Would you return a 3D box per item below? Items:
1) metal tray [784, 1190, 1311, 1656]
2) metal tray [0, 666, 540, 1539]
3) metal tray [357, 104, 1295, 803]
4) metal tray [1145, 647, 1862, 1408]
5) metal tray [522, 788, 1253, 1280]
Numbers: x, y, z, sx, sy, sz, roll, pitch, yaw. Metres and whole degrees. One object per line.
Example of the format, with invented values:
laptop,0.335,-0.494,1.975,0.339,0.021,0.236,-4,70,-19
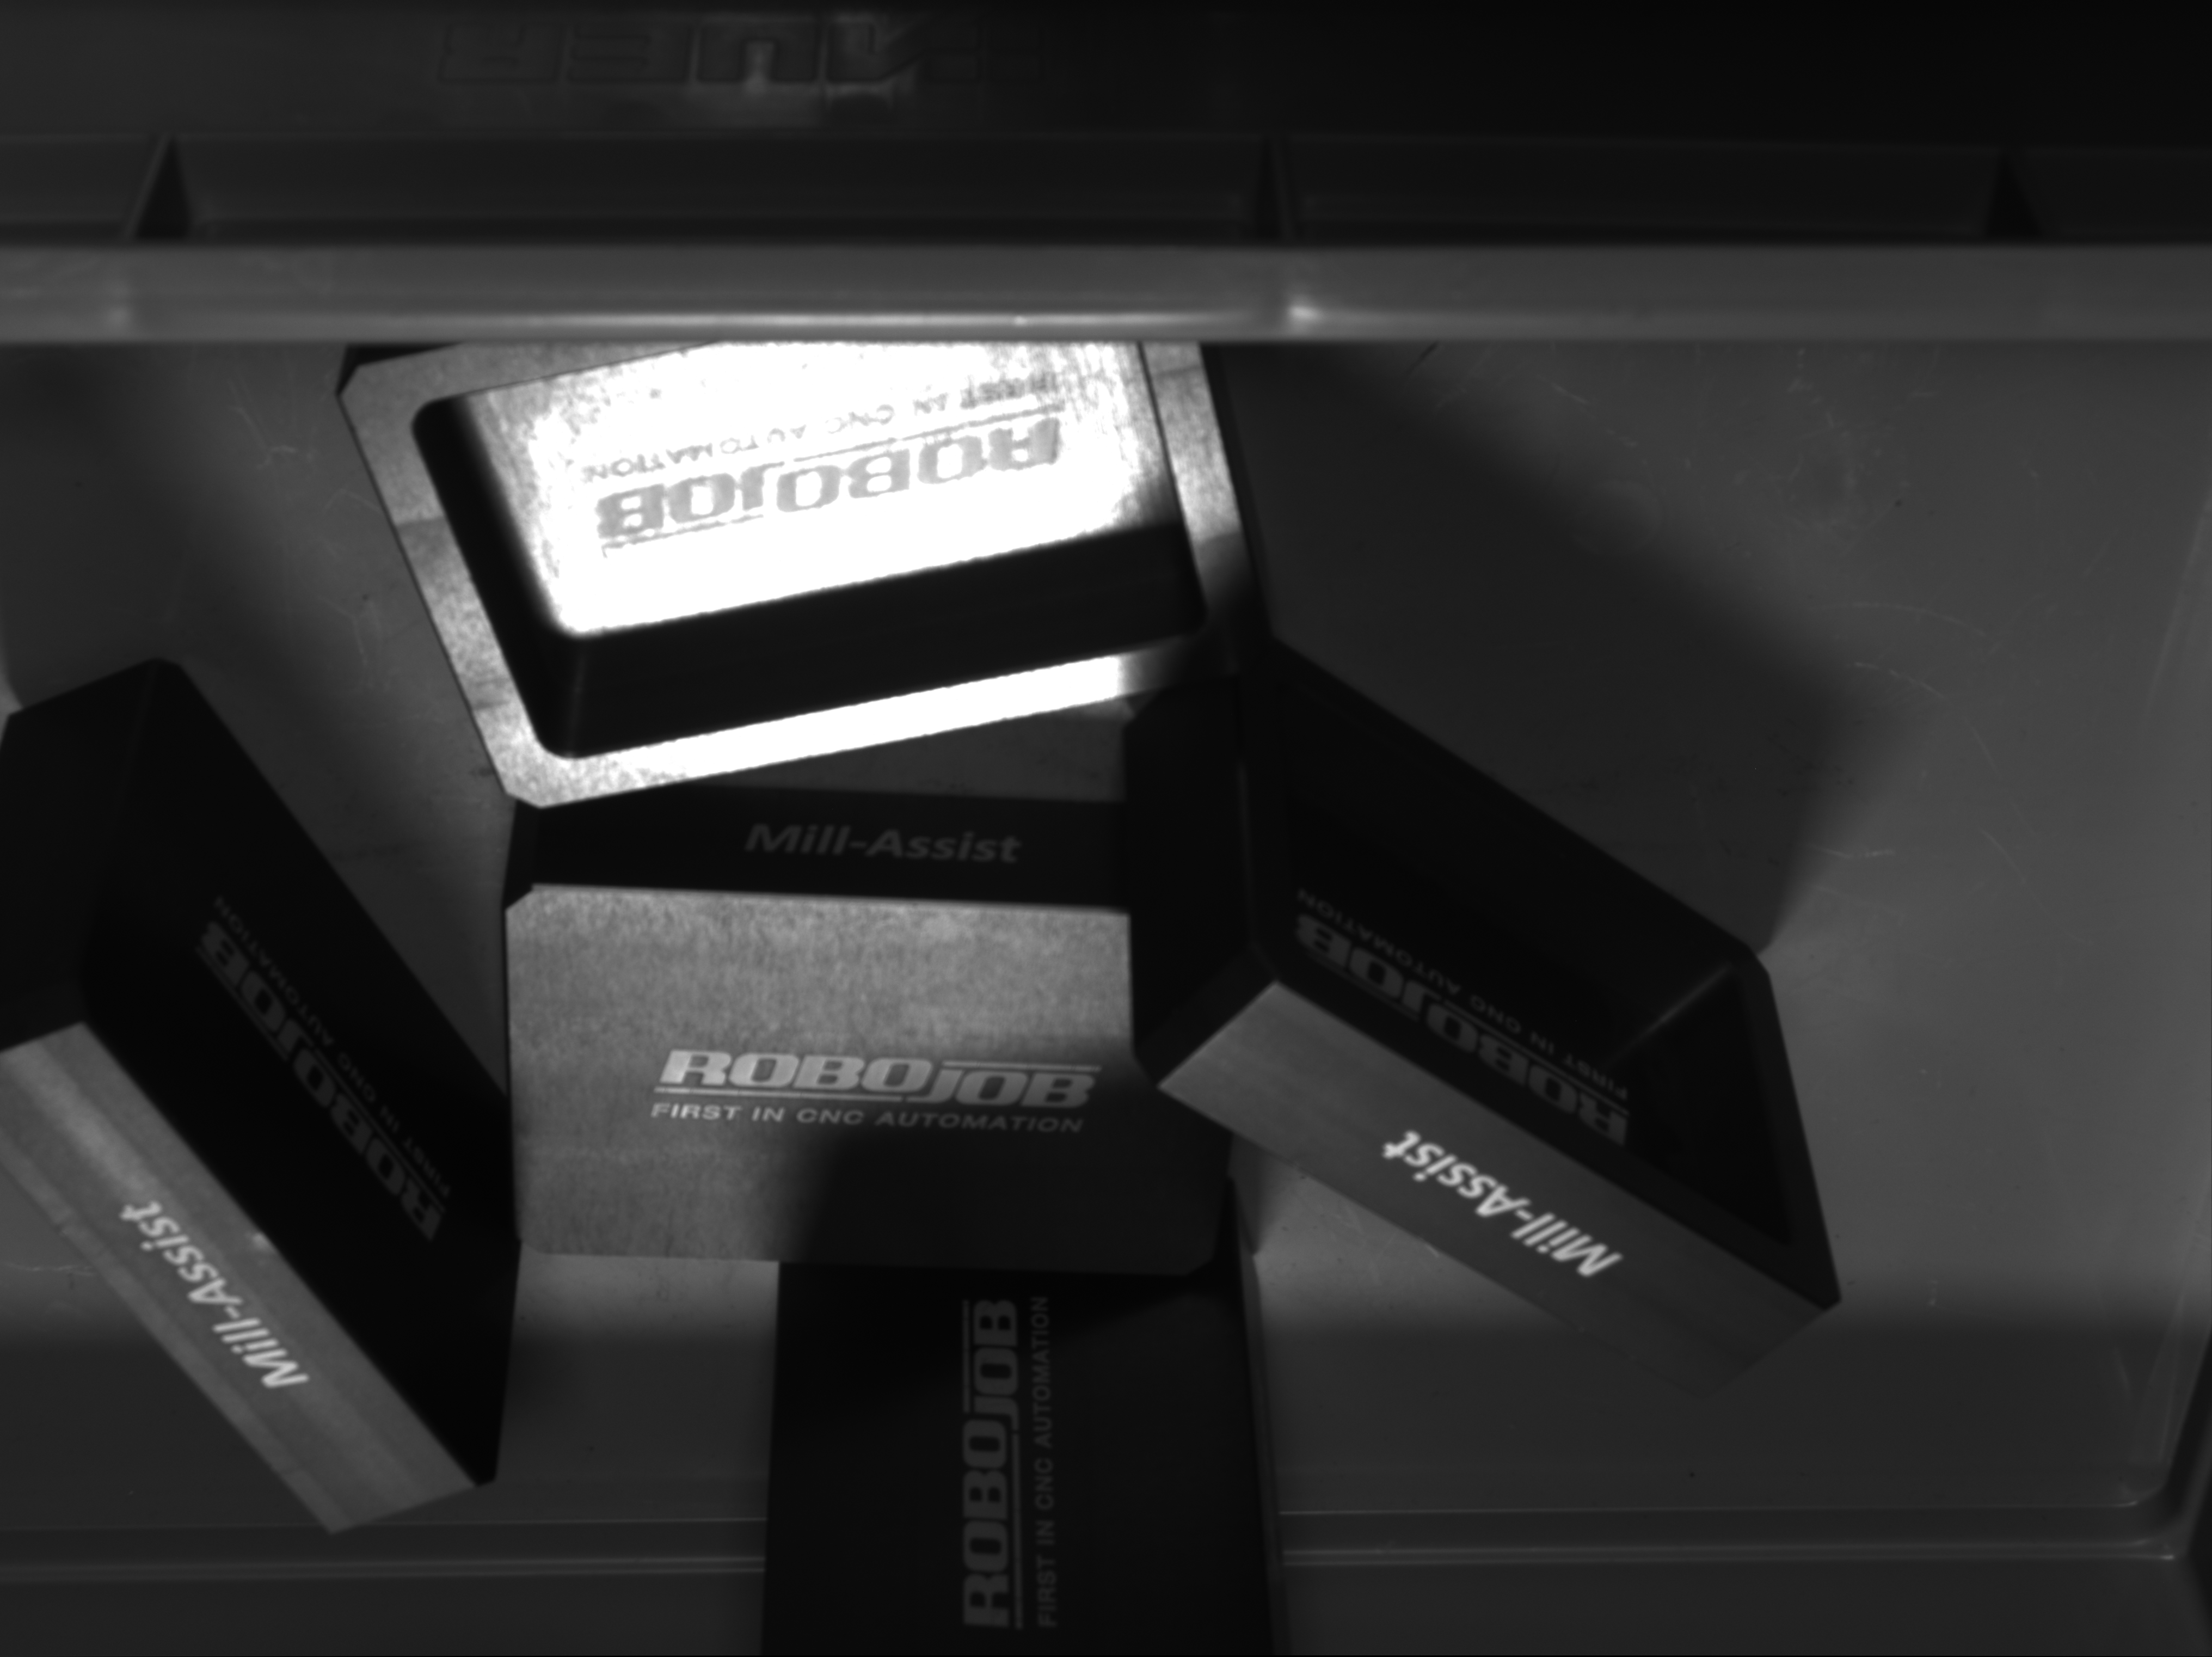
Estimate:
metal tray,-0.011,0.126,0.672,0.090,0.130,0.030,-10,130,6
metal tray,-0.143,0.048,0.629,0.030,0.090,0.130,-20,128,13
metal tray,-0.042,-0.057,0.584,0.130,0.030,0.090,-10,130,7
metal tray,0.067,0.032,0.622,0.130,0.090,0.030,31,123,-25
metal tray,-0.038,0.038,0.662,0.130,0.030,0.090,3,130,-4
